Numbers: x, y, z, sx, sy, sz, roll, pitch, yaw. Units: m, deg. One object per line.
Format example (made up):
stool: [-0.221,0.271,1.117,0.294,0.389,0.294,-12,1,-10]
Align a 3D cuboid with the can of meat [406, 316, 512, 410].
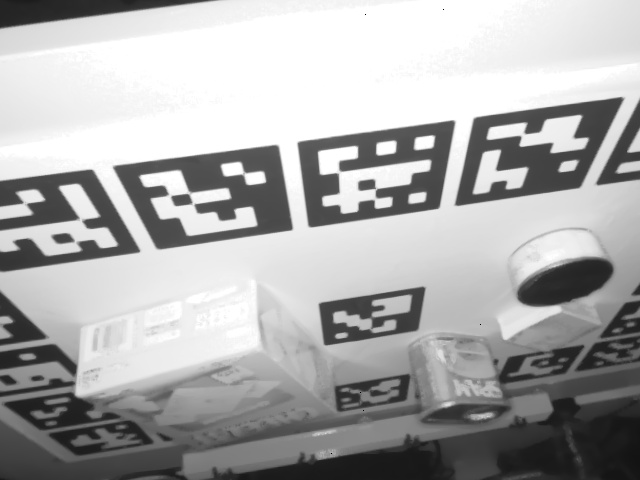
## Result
can of meat: [0.147,0.132,0.748,0.103,0.084,0.057,9,142,-27]

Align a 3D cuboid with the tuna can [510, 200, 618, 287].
tuna can: [0.210,0.005,0.603,0.086,0.034,0.085,-7,143,-5]

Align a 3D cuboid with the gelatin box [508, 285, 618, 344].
gelatin box: [0.253,0.075,0.725,0.090,0.030,0.072,21,139,-33]

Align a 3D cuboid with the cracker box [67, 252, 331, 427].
cracker box: [-0.101,0.105,0.653,0.163,0.072,0.214,-17,147,13]
